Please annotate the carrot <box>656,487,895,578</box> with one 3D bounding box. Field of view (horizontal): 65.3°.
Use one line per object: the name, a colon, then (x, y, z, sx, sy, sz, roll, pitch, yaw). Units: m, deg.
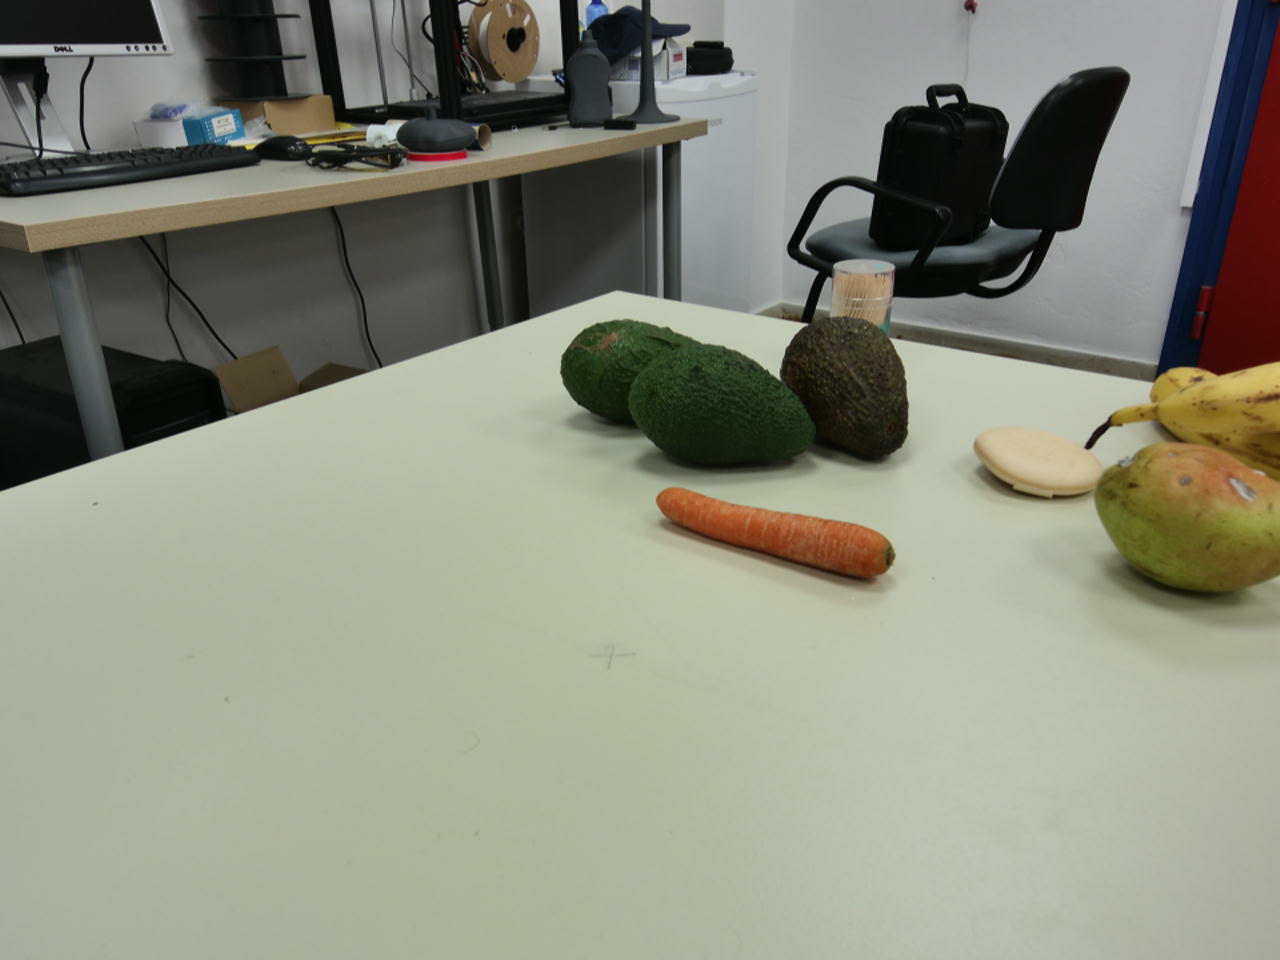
carrot: (0.060, 0.022, 0.466, 0.122, 0.023, 0.024, 16, 27, 32)
